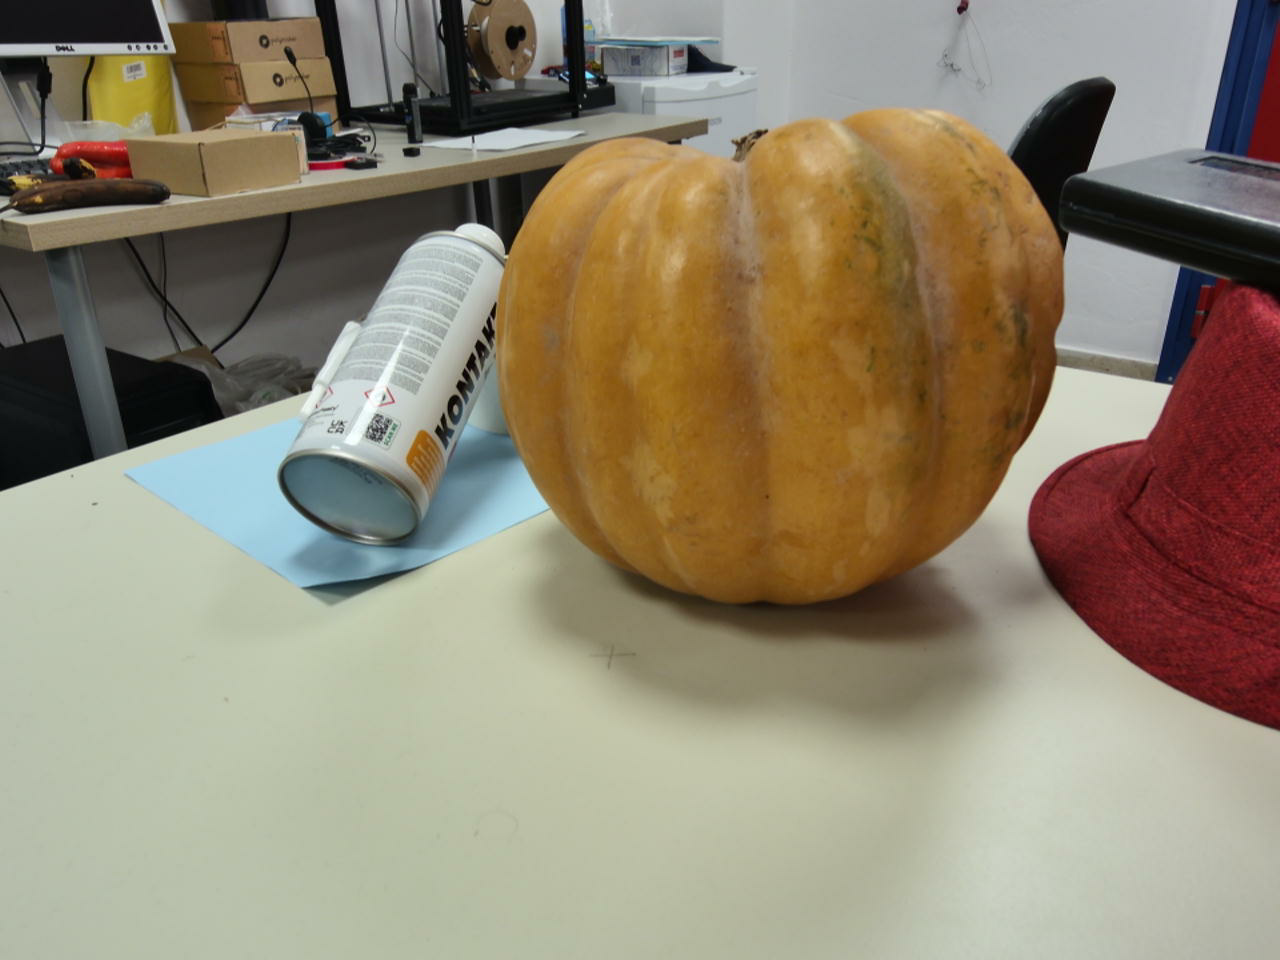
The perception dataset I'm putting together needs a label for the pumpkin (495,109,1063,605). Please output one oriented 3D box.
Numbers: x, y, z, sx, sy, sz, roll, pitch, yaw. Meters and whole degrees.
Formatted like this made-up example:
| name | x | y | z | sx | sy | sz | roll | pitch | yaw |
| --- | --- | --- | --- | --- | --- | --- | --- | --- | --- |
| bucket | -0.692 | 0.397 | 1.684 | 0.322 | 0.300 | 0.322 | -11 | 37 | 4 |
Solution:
| name | x | y | z | sx | sy | sz | roll | pitch | yaw |
| --- | --- | --- | --- | --- | --- | --- | --- | --- | --- |
| pumpkin | 0.053 | -0.052 | 0.415 | 0.230 | 0.194 | 0.230 | 1 | 23 | 0 |
